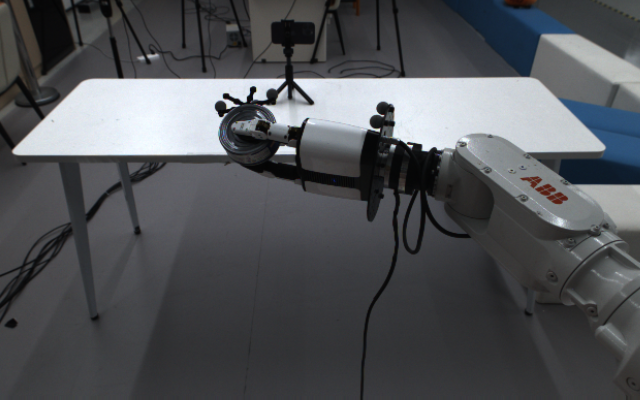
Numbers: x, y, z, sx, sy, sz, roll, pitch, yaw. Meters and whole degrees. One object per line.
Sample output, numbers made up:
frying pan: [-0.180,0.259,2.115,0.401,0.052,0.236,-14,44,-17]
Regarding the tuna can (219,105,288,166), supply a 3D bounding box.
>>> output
tuna can: [-0.097,-0.089,0.692,0.085,0.034,0.085,-4,68,9]
